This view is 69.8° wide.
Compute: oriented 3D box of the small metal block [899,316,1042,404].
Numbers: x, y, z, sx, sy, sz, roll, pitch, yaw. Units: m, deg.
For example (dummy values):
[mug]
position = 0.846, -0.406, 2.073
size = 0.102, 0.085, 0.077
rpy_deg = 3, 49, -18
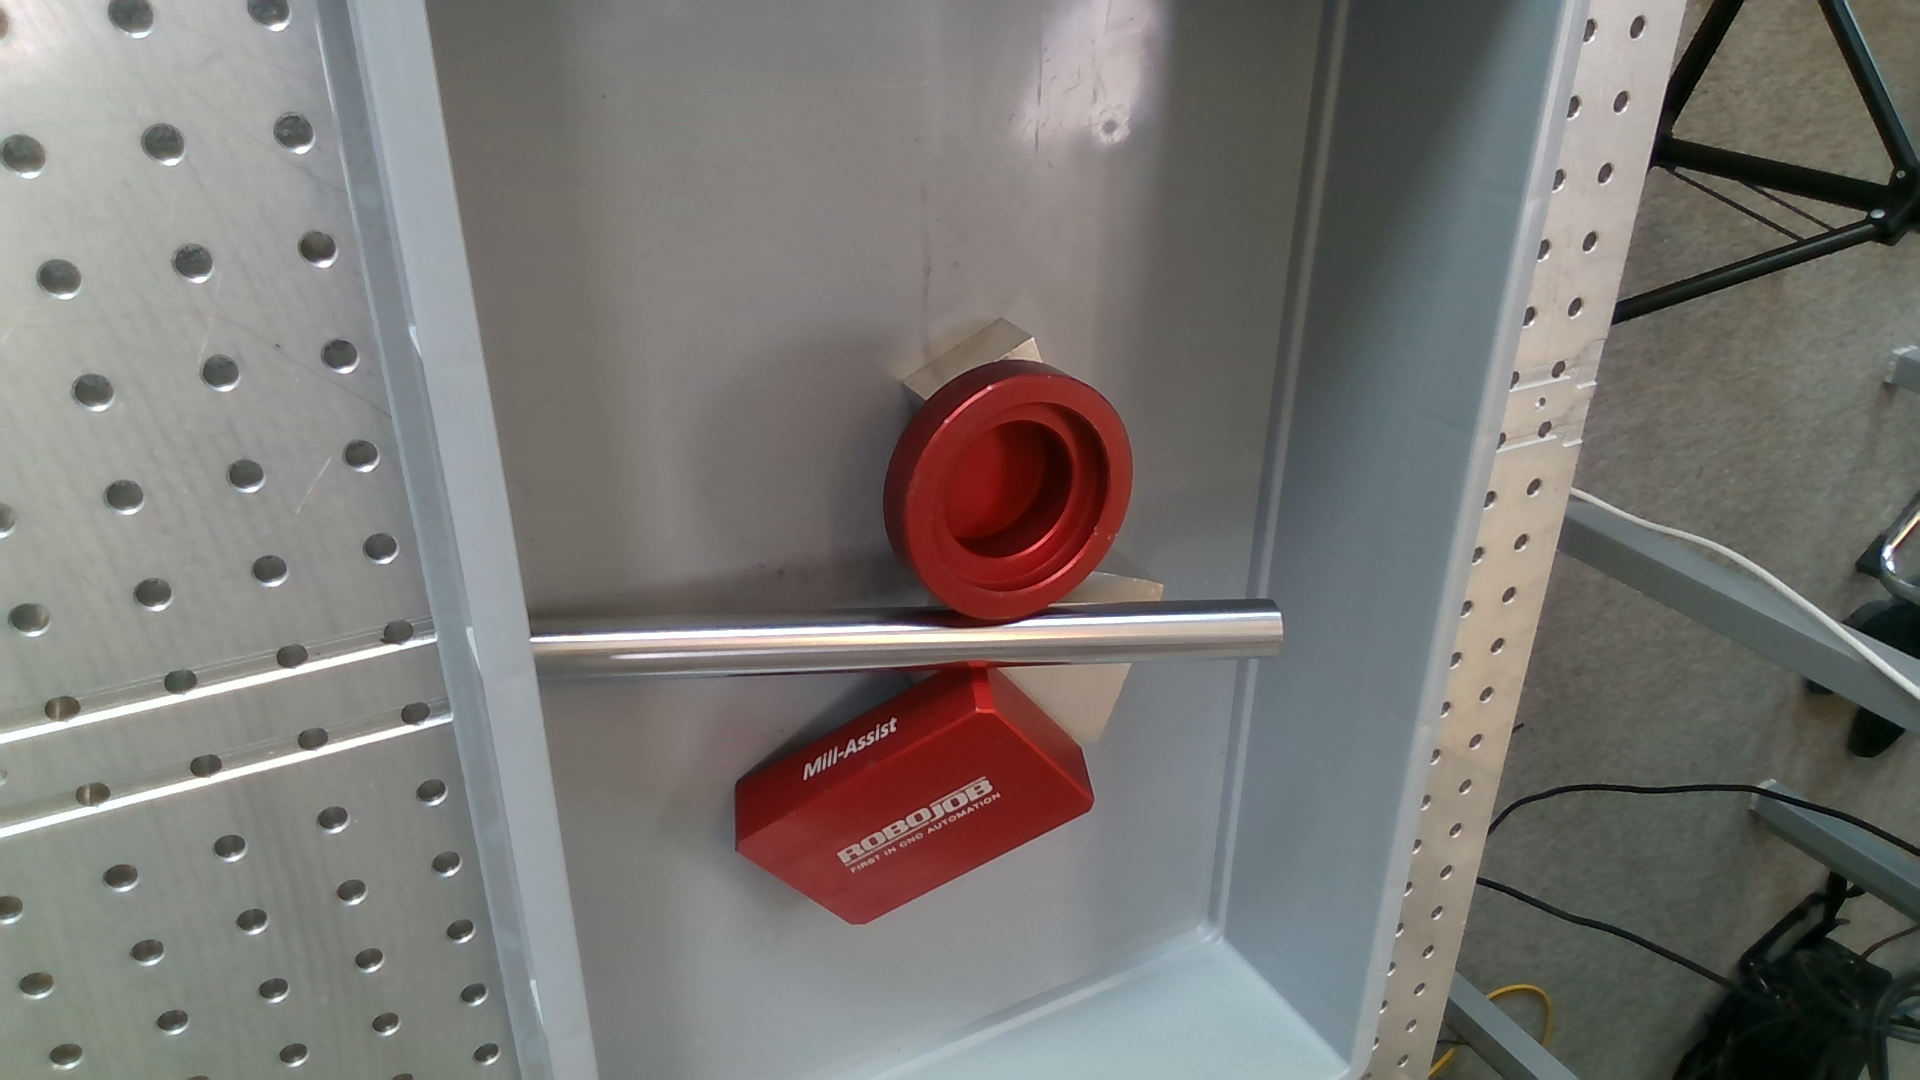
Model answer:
[small metal block]
position = 0.010, -0.054, 0.558
size = 0.050, 0.025, 0.050
rpy_deg = -34, 128, -12

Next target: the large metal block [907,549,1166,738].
[large metal block]
position = 0.031, 0.037, 0.604
size = 0.080, 0.050, 0.080
rpy_deg = 9, 110, -35

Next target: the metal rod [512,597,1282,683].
[metal rod]
position = -0.017, 0.038, 0.539
size = 0.300, 0.025, 0.025
rpy_deg = -1, 116, -14

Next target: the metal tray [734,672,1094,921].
[metal tray]
position = -0.020, 0.110, 0.591
size = 0.130, 0.030, 0.090
rpy_deg = -30, 131, 17

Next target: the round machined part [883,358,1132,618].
[round machined part]
position = 0.014, -0.023, 0.530
size = 0.098, 0.042, 0.098
rpy_deg = -13, 118, -25
